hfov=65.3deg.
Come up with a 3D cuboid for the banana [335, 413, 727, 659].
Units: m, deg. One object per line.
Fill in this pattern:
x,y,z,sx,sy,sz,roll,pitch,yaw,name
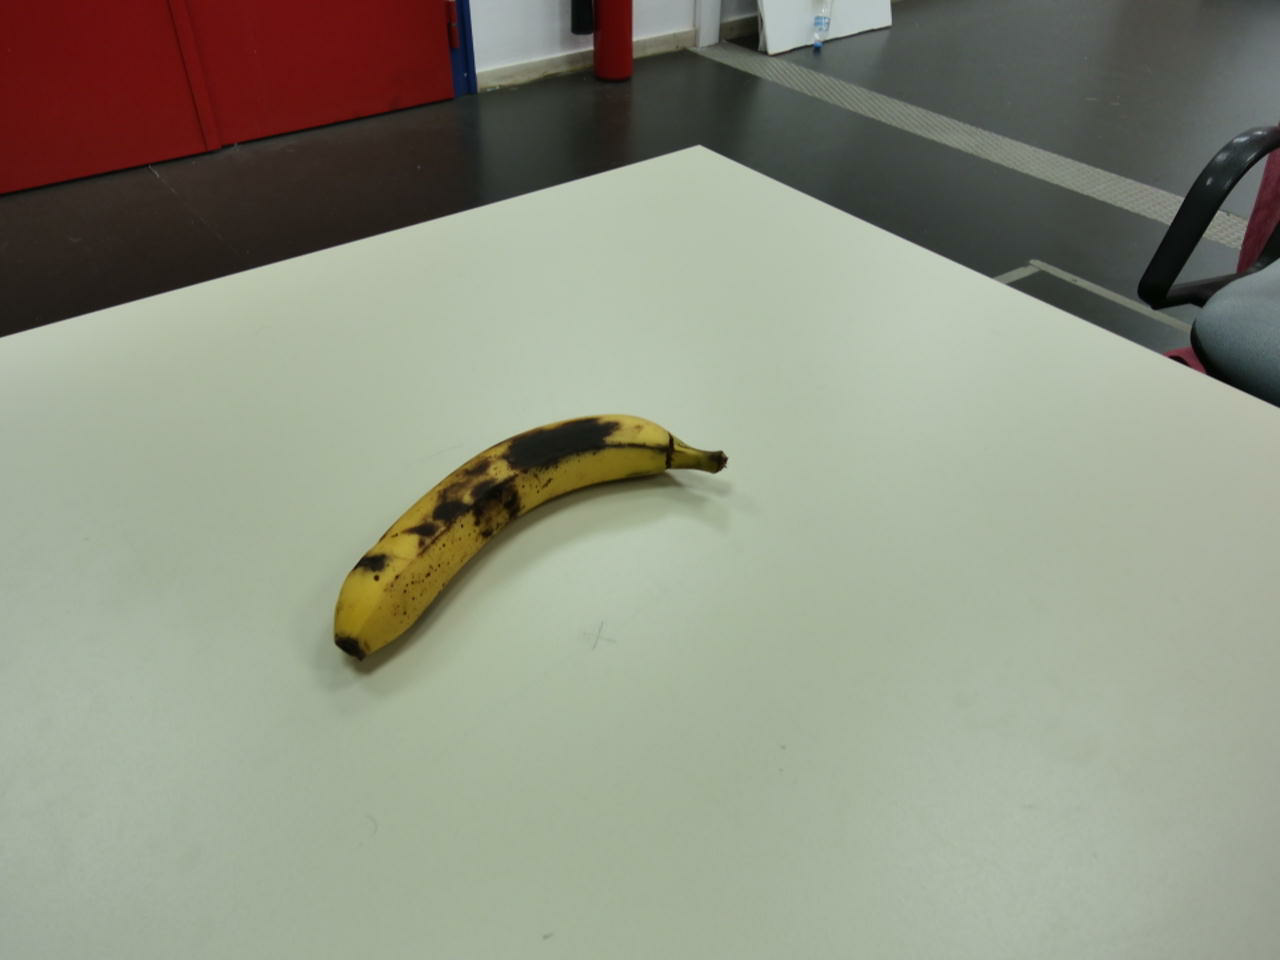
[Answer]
-0.063,0.012,0.505,0.222,0.037,0.084,-25,45,-30,banana
